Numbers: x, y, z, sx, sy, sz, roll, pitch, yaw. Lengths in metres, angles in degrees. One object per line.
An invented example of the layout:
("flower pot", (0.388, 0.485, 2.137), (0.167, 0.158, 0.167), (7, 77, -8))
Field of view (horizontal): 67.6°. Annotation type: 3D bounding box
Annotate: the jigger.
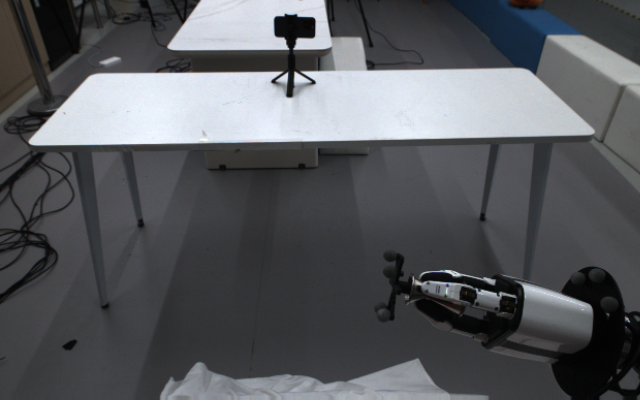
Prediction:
("jigger", (0.151, 0.114, 0.604), (0.071, 0.043, 0.043), (11, 35, 2))
